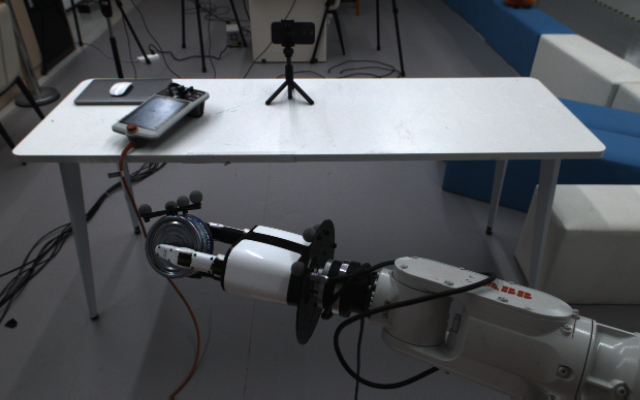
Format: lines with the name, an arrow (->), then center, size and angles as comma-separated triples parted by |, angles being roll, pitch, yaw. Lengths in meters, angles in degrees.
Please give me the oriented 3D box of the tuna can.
tuna can -> -0.186, 0.068, 0.645 | 0.085, 0.085, 0.034 | 12, 3, 14
